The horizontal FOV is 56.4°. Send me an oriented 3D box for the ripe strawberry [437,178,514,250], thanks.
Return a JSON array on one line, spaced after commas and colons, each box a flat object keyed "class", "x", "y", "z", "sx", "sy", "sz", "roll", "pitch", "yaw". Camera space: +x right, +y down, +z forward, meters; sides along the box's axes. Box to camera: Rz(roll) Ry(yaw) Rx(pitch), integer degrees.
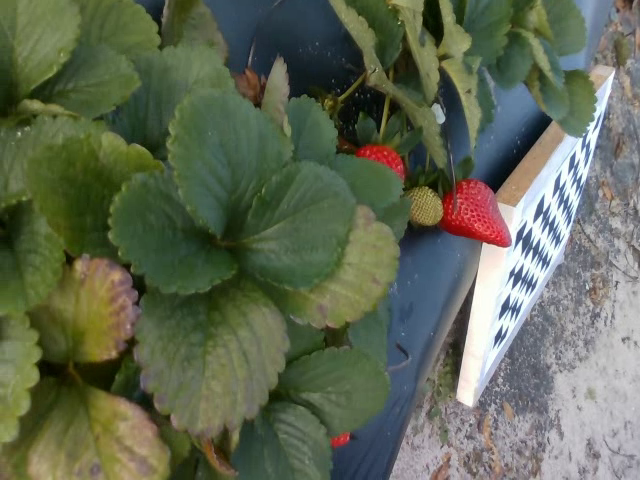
[{"class": "ripe strawberry", "x": 0.051, "y": -0.006, "z": 0.184, "sx": 0.022, "sy": 0.030, "sz": 0.025, "roll": -32, "pitch": -29, "yaw": -8}]
